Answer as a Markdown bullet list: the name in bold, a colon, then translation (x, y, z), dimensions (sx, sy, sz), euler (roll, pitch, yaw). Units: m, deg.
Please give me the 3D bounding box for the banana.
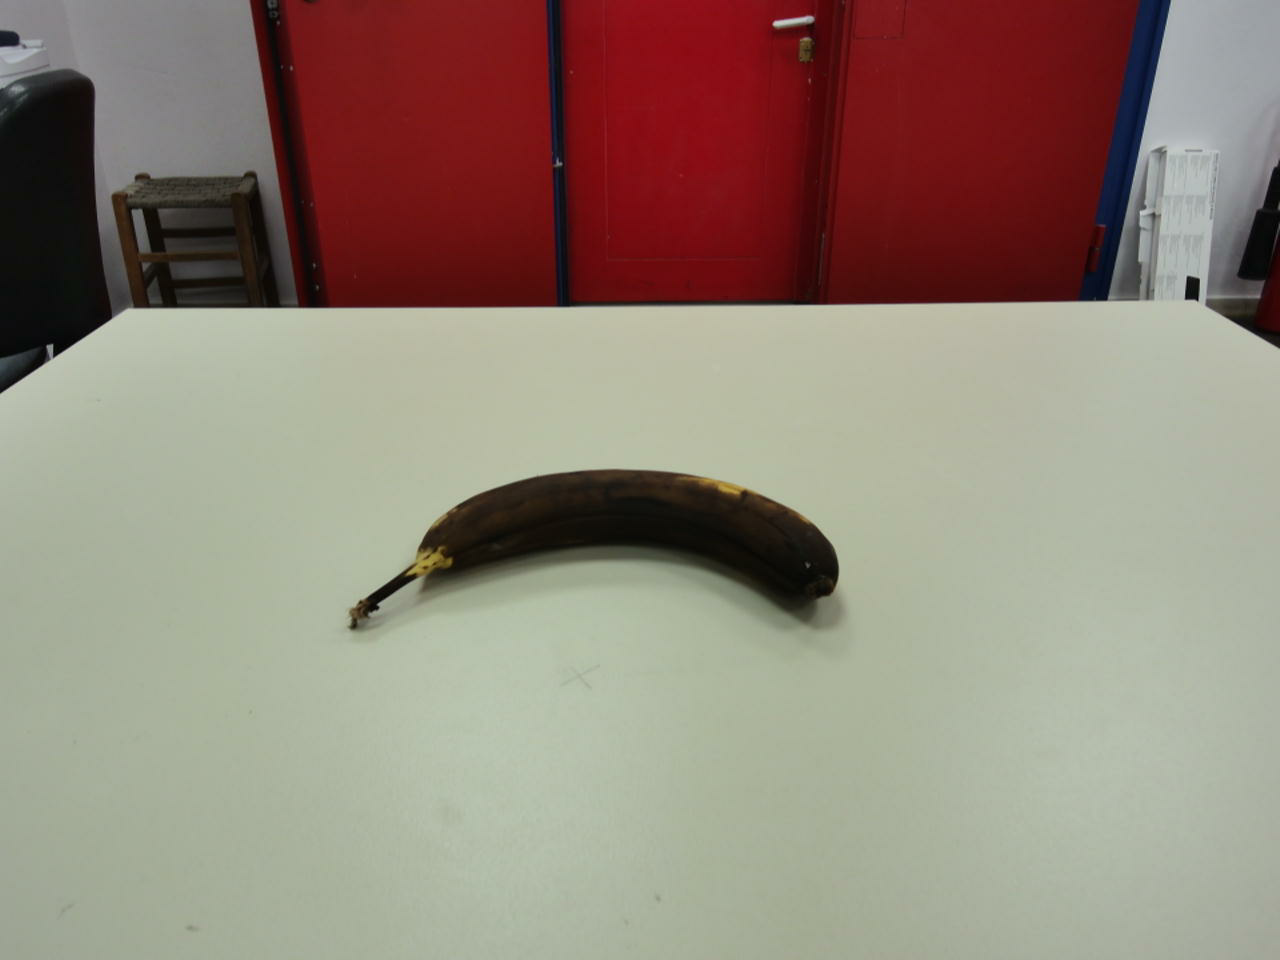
- **banana**: translation (-0.017, 0.023, 0.413), dimensions (0.188, 0.034, 0.091), euler (0, 25, 1)
